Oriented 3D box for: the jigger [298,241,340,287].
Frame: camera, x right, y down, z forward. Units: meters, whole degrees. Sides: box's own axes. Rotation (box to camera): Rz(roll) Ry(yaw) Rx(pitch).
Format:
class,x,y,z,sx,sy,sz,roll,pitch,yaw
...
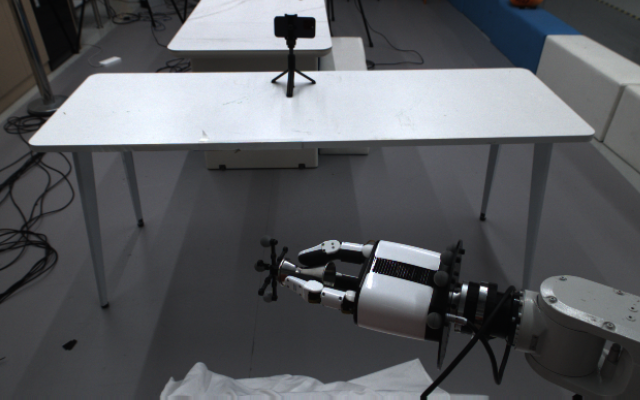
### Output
class,x,y,z,sx,sy,sz,roll,pitch,yaw
jigger,-0.011,0.098,0.654,0.071,0.043,0.043,4,33,23
